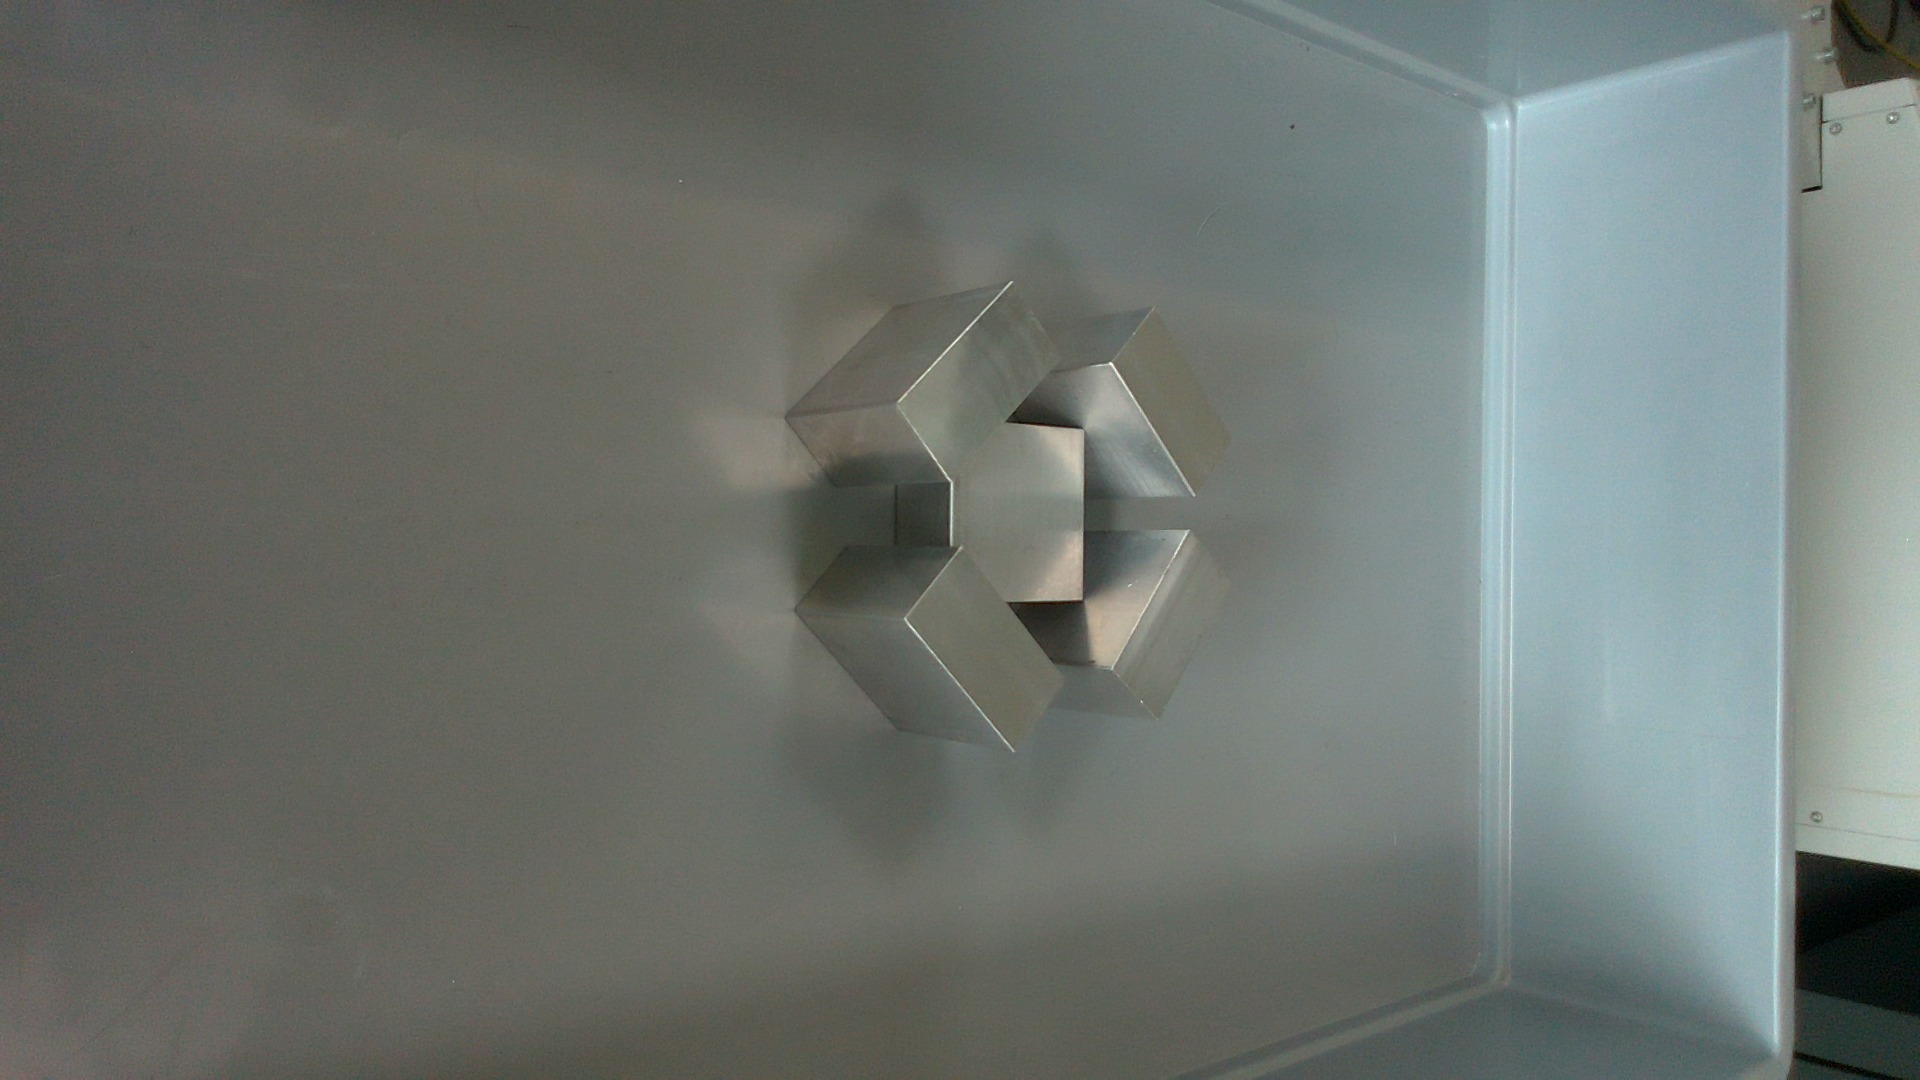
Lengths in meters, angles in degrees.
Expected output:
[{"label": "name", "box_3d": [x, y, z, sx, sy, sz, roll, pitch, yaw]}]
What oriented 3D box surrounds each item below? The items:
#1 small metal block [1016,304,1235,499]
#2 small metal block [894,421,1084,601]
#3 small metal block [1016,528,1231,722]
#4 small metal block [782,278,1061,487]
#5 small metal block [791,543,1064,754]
[{"label": "small metal block", "box_3d": [0.045, -0.039, 0.407, 0.025, 0.050, 0.050, -53, 121, -28]}, {"label": "small metal block", "box_3d": [0.009, -0.008, 0.394, 0.050, 0.025, 0.050, 1, 89, -40]}, {"label": "small metal block", "box_3d": [0.044, 0.024, 0.407, 0.025, 0.050, 0.050, 48, 61, -30]}, {"label": "small metal block", "box_3d": [-0.010, -0.040, 0.362, 0.050, 0.050, 0.025, -49, 118, -28]}, {"label": "small metal block", "box_3d": [-0.009, 0.028, 0.364, 0.025, 0.050, 0.050, -52, 120, -26]}]
